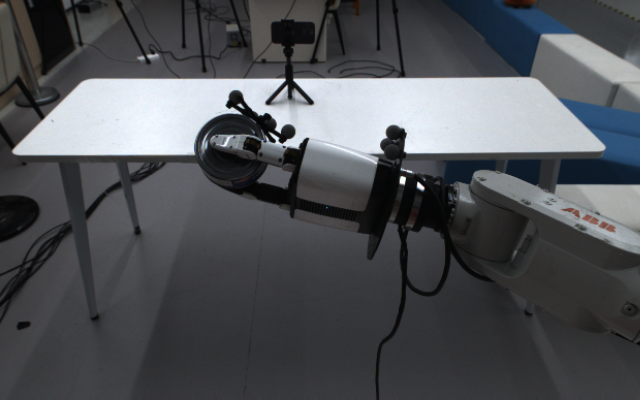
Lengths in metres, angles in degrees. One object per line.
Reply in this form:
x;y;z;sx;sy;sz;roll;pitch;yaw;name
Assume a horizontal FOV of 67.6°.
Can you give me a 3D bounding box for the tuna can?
-0.100;-0.052;0.574;0.085;0.034;0.085;0;74;-1;tuna can
